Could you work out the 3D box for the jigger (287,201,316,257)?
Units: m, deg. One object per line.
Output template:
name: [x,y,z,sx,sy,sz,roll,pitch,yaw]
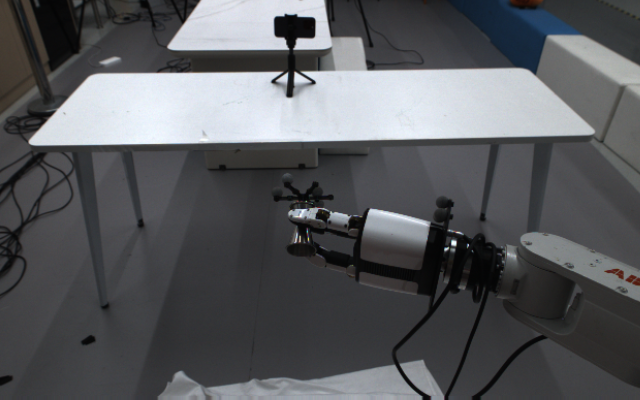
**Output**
jigger: [-0.025,0.037,0.682,0.043,0.043,0.071,2,59,0]
